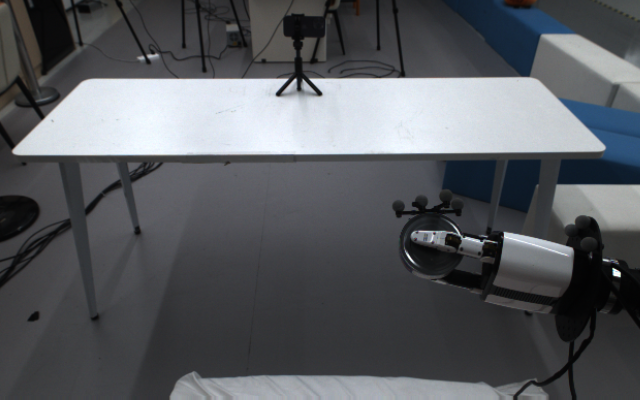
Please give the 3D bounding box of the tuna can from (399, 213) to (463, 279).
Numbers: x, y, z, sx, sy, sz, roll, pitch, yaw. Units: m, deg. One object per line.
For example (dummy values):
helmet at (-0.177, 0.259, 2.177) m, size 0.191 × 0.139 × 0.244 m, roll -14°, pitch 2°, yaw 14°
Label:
tuna can at (0.150, 0.058, 0.647) m, size 0.085 × 0.034 × 0.085 m, roll -3°, pitch 68°, yaw 7°
